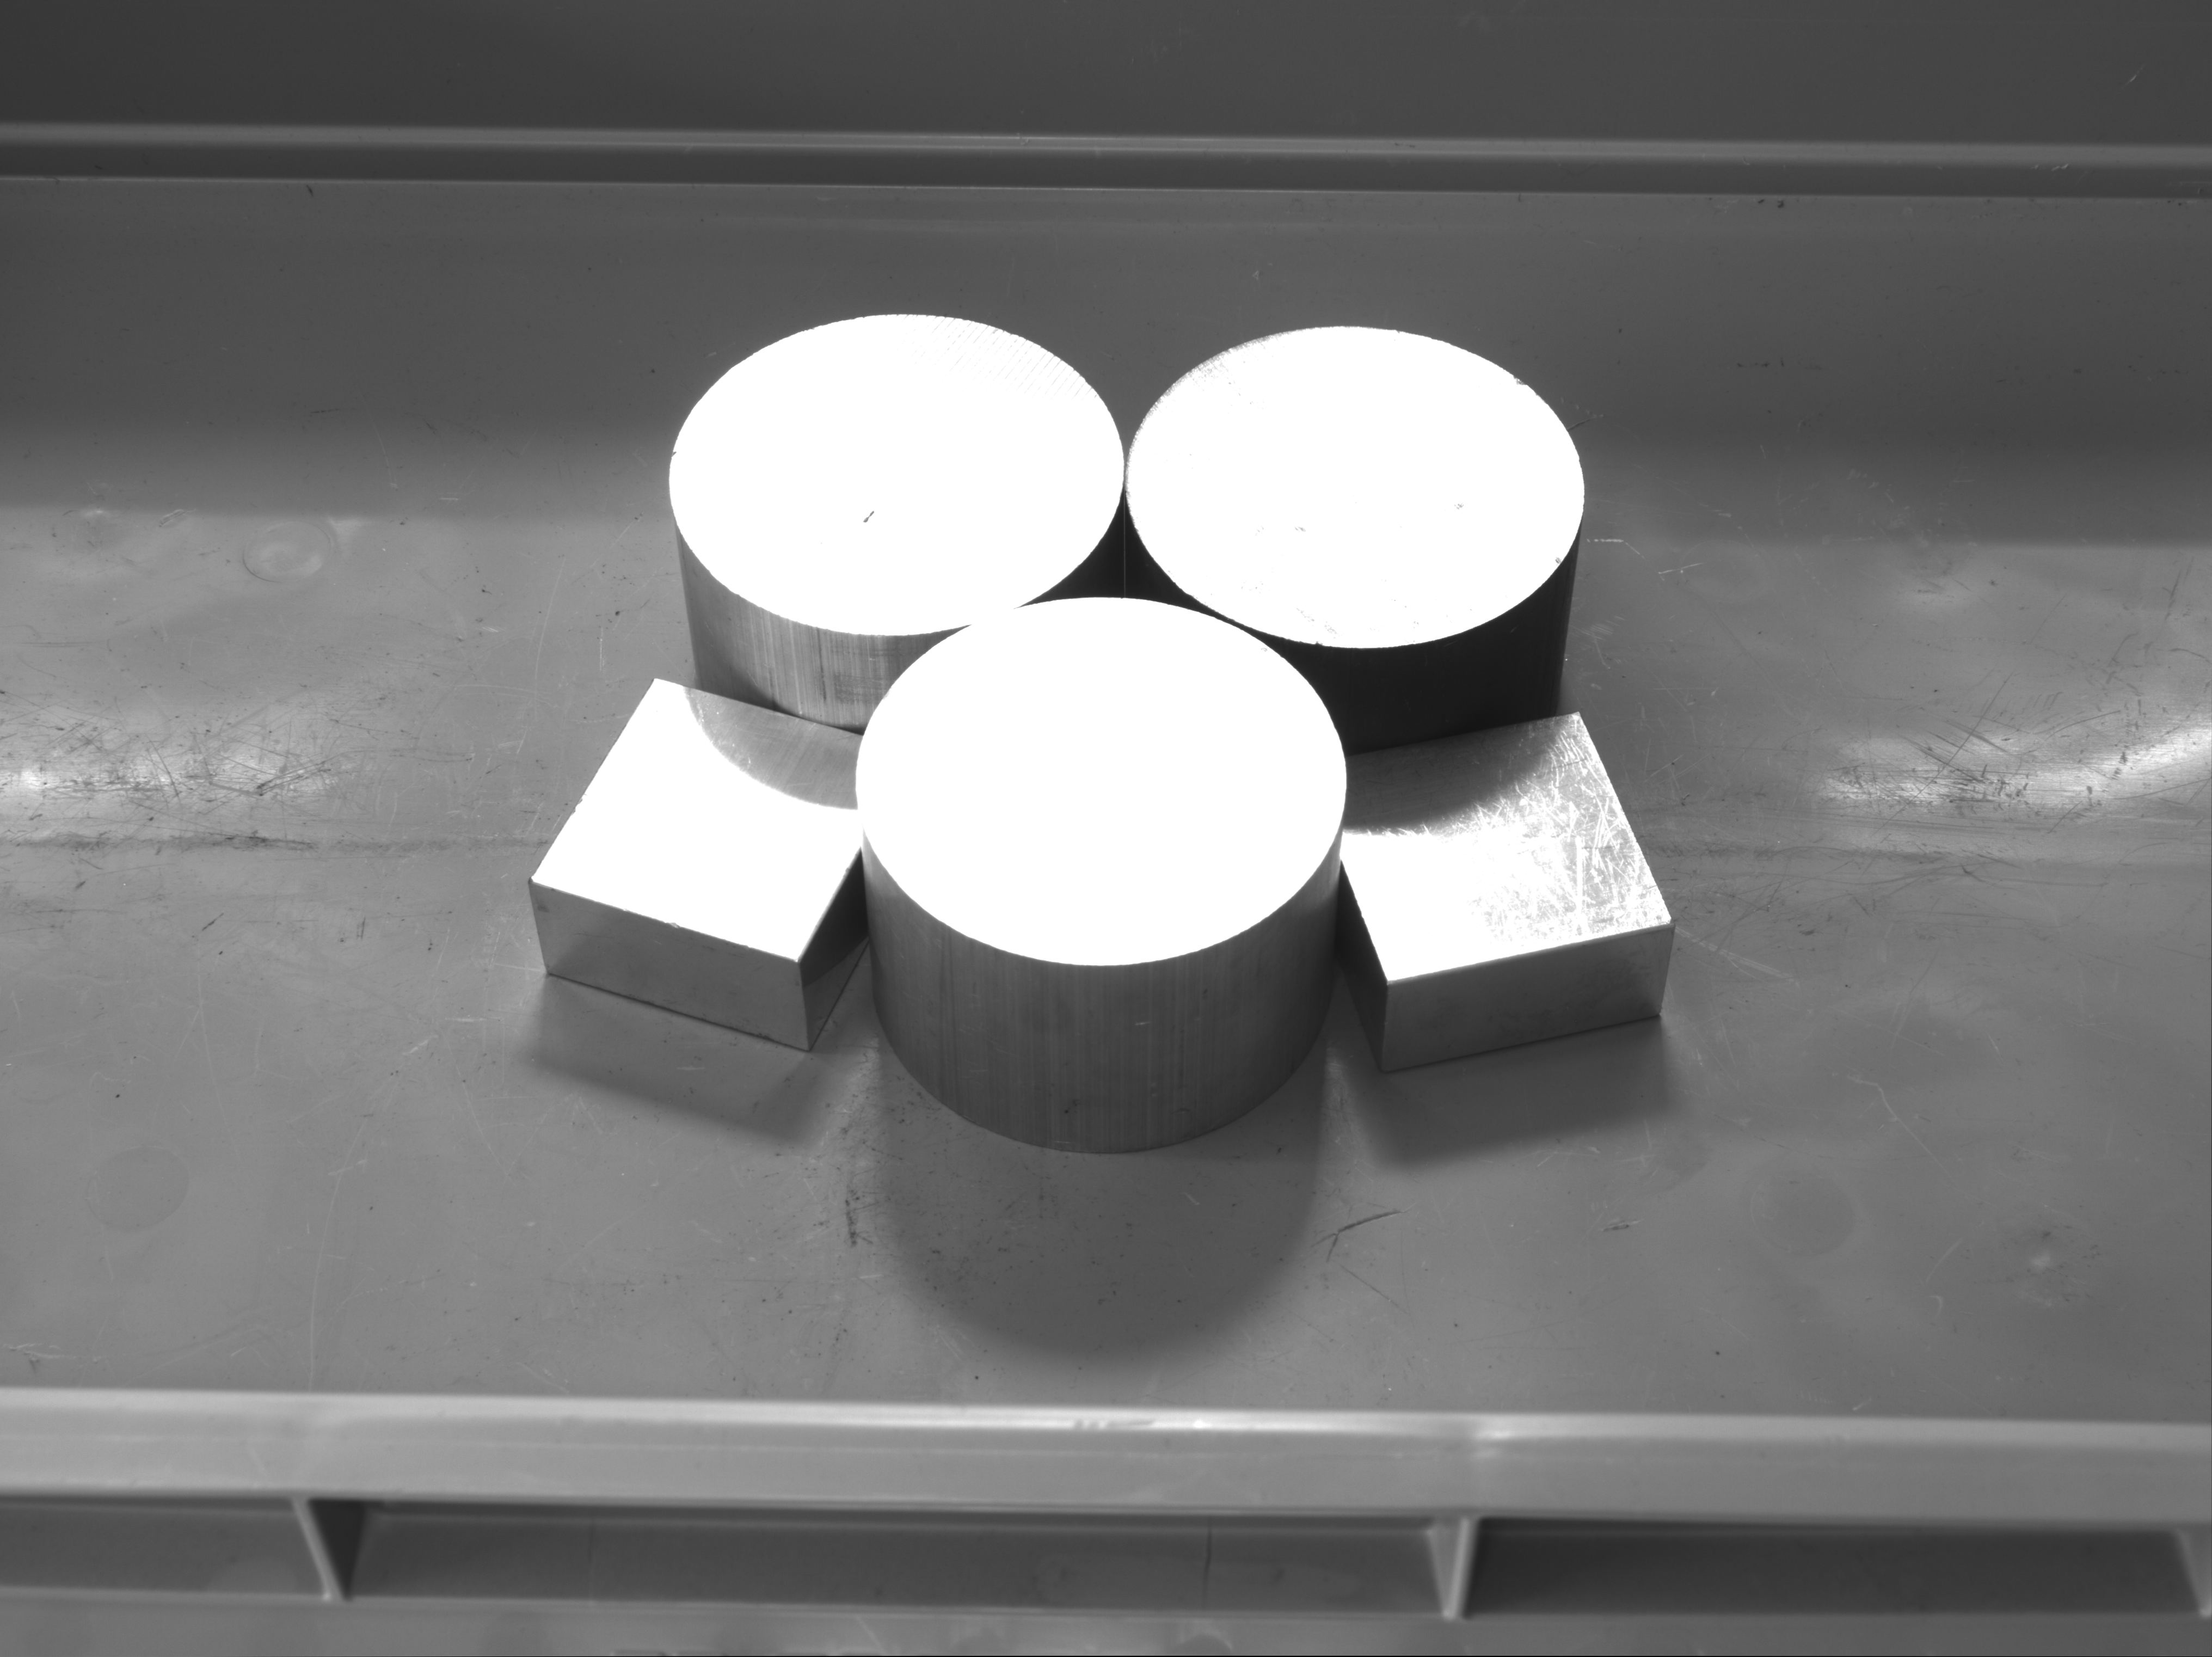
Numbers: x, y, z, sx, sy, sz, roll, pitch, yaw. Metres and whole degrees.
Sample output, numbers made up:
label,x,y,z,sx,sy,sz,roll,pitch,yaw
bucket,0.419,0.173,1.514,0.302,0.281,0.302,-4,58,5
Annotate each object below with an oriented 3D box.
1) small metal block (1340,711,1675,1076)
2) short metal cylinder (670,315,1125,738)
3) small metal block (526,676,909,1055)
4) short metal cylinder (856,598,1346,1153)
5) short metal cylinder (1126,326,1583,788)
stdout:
label,x,y,z,sx,sy,sz,roll,pitch,yaw
small metal block,0.065,0.011,0.633,0.050,0.025,0.050,-11,51,-9
short metal cylinder,-0.036,-0.047,0.665,0.080,0.050,0.080,0,50,0
small metal block,-0.065,0.006,0.636,0.050,0.025,0.050,16,52,13
short metal cylinder,-0.001,0.007,0.618,0.080,0.050,0.080,0,50,0
short metal cylinder,0.044,-0.045,0.663,0.080,0.050,0.080,0,50,0
